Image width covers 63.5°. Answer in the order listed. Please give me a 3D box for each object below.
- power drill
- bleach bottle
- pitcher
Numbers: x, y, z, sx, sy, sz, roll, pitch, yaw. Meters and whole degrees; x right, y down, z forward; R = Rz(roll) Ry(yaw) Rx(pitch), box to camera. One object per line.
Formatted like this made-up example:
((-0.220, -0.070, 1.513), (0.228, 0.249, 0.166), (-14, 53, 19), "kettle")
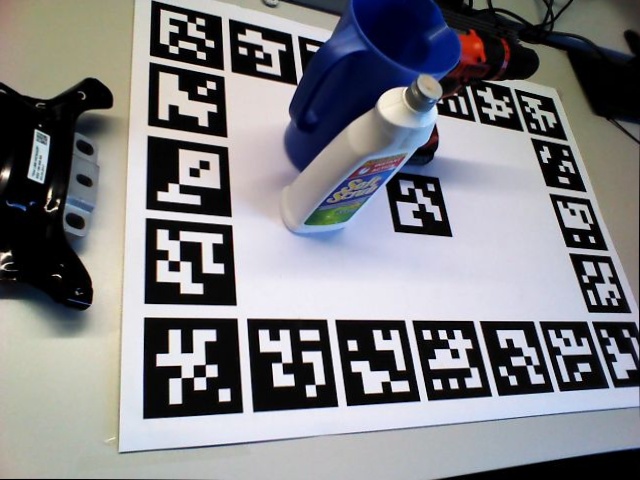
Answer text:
((0.209, -0.174, 0.691), (0.184, 0.188, 0.057), (0, 71, -32), "power drill")
((0.073, -0.083, 0.549), (0.102, 0.252, 0.067), (-5, 70, -27), "bleach bottle")
((0.063, -0.169, 0.607), (0.187, 0.244, 0.133), (-26, 82, -32), "pitcher")
